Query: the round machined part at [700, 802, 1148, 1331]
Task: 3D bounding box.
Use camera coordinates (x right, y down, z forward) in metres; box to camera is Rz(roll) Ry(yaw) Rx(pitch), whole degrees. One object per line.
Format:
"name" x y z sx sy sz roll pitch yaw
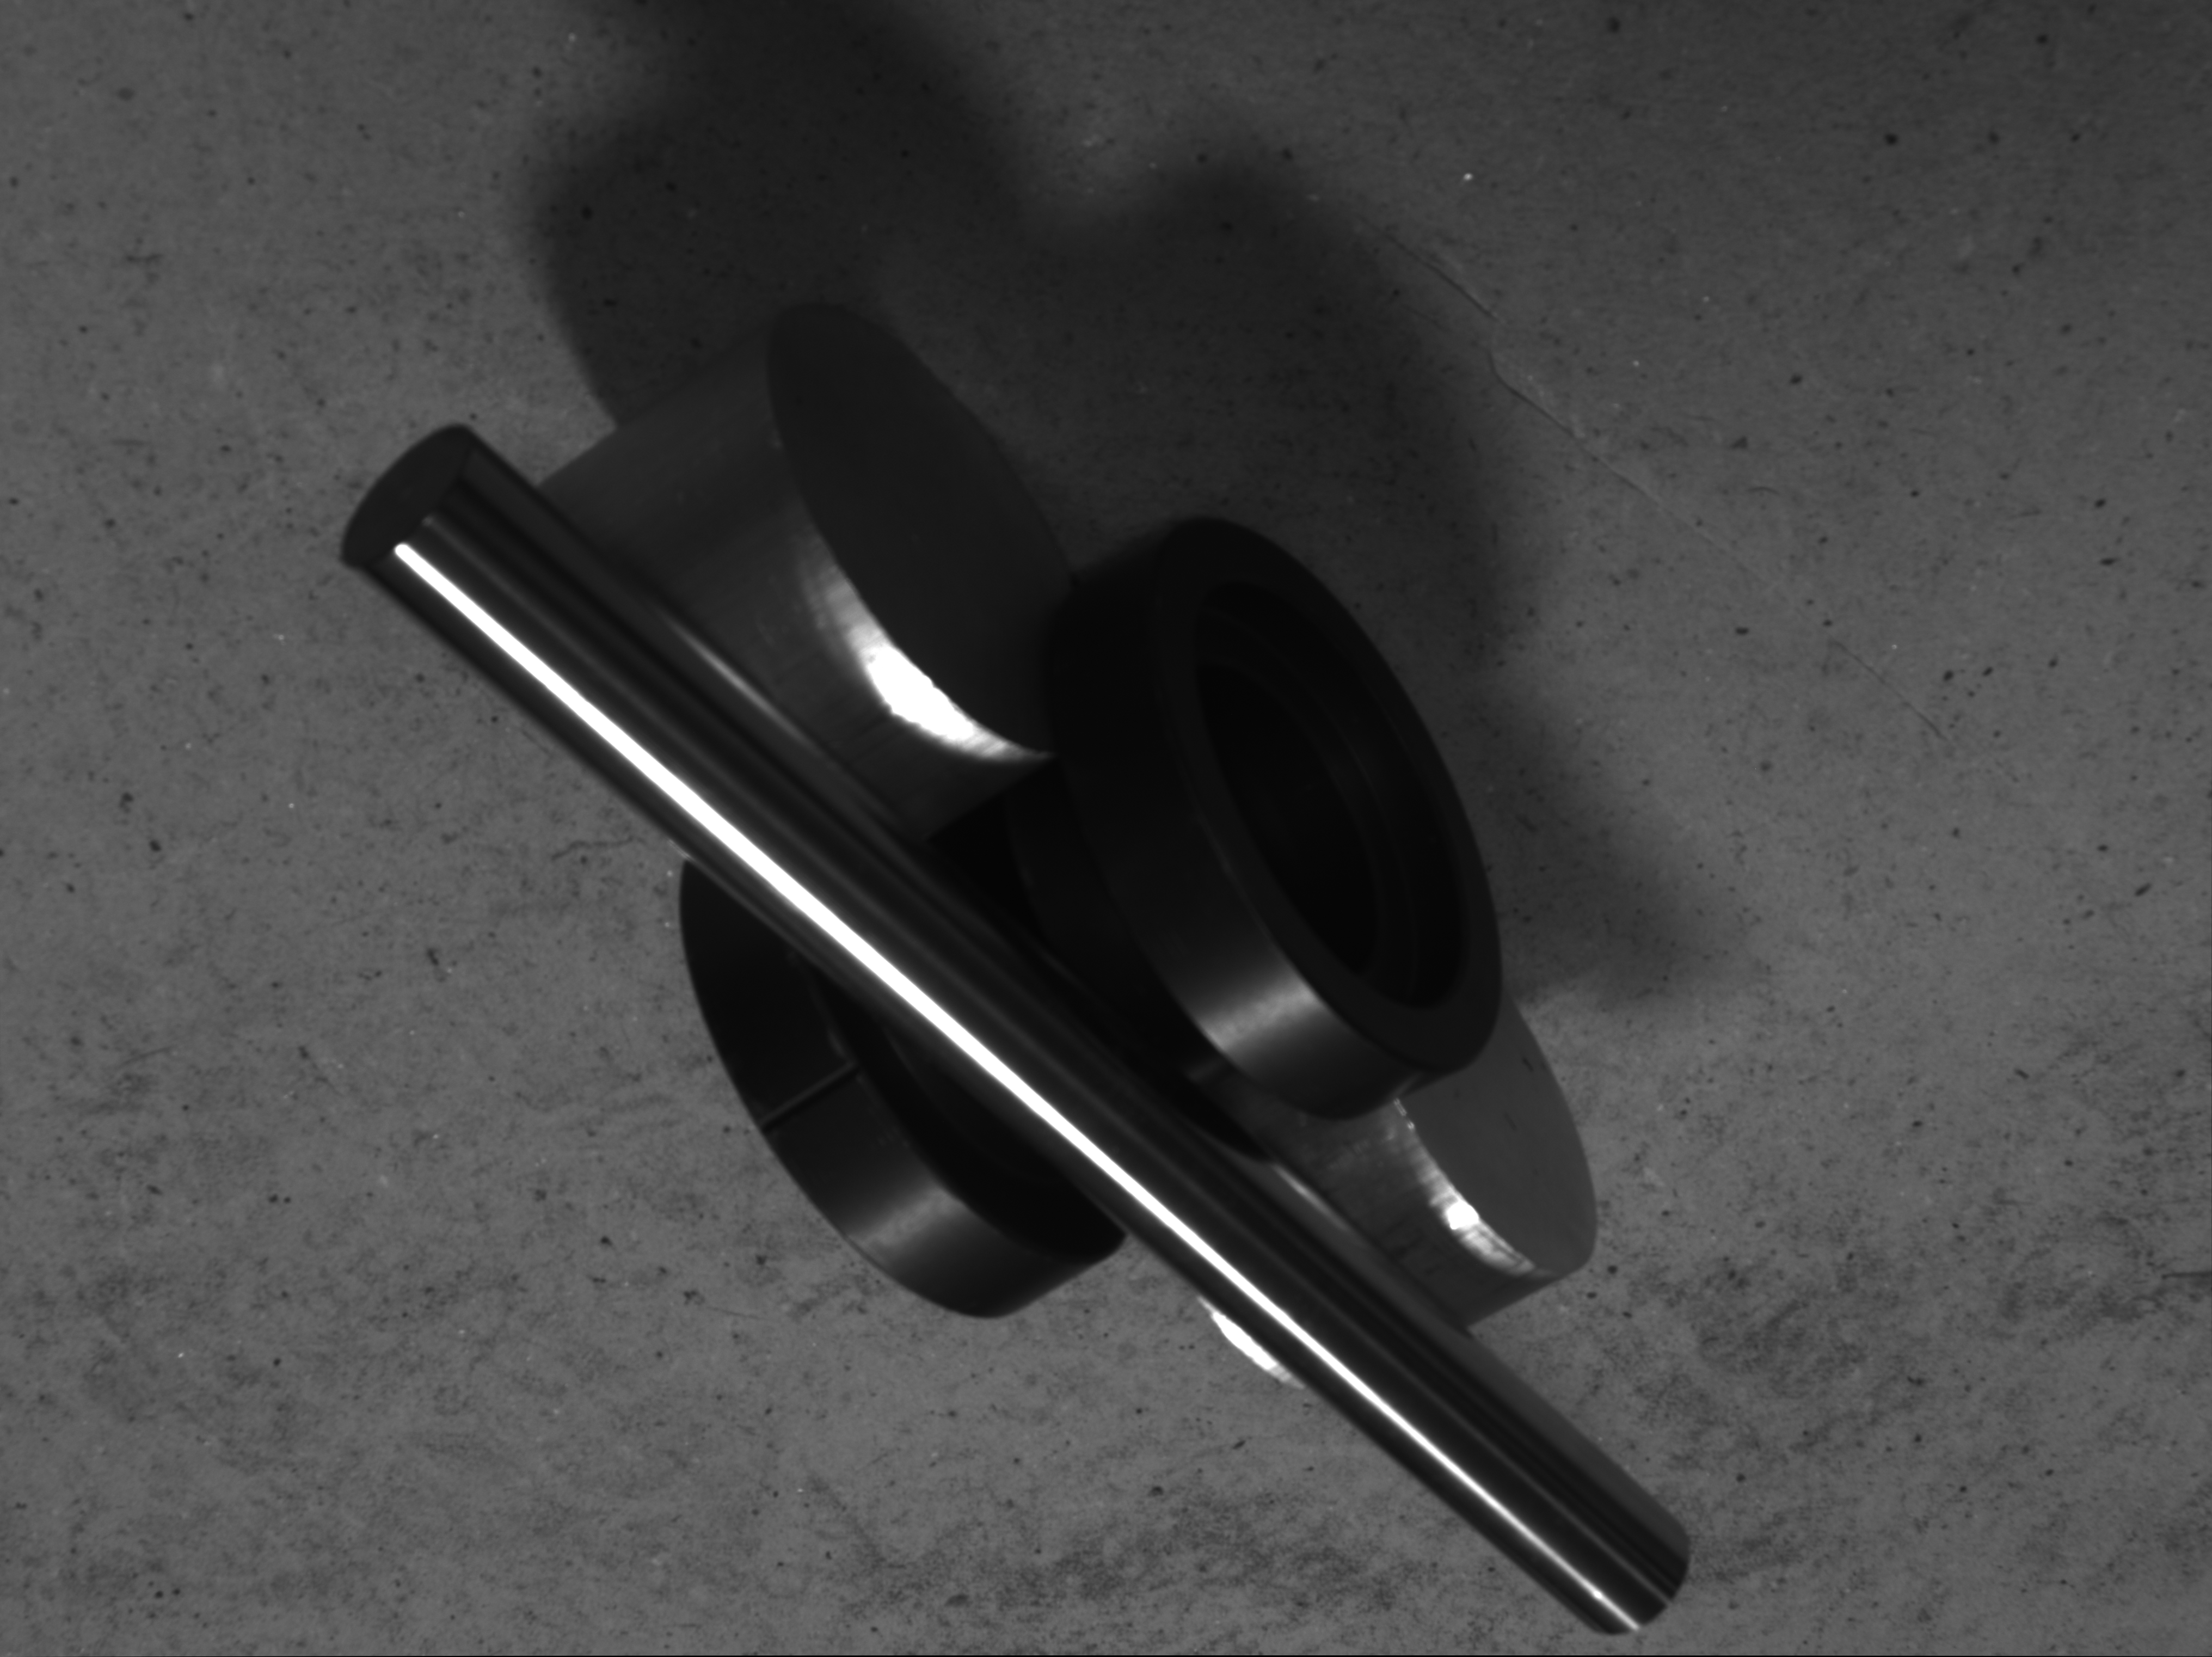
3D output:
"round machined part" -0.020 0.031 0.615 0.042 0.098 0.098 -34 123 19

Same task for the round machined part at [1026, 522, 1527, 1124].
"round machined part" 0.024 0.003 0.595 0.042 0.098 0.098 -29 125 26

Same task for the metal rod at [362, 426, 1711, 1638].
"metal rod" 0.003 0.044 0.571 0.025 0.025 0.301 -32 124 23

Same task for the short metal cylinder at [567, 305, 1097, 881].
"short metal cylinder" -0.043 -0.034 0.572 0.050 0.080 0.080 -31 124 22

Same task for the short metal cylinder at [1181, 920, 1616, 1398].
"short metal cylinder" 0.047 0.054 0.649 0.050 0.080 0.080 -31 124 22
